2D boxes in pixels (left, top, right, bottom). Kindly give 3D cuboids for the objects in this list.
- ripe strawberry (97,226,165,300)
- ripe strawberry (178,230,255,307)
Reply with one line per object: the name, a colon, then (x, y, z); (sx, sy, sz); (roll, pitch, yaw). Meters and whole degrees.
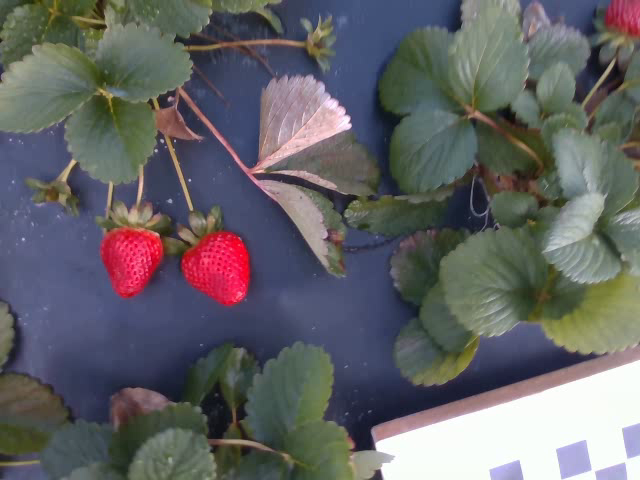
ripe strawberry: (-0.137, 0.016, 0.470); (0.049, 0.055, 0.041); (-2, -15, -4)
ripe strawberry: (-0.075, 0.023, 0.470); (0.058, 0.064, 0.051); (-37, -23, 0)
